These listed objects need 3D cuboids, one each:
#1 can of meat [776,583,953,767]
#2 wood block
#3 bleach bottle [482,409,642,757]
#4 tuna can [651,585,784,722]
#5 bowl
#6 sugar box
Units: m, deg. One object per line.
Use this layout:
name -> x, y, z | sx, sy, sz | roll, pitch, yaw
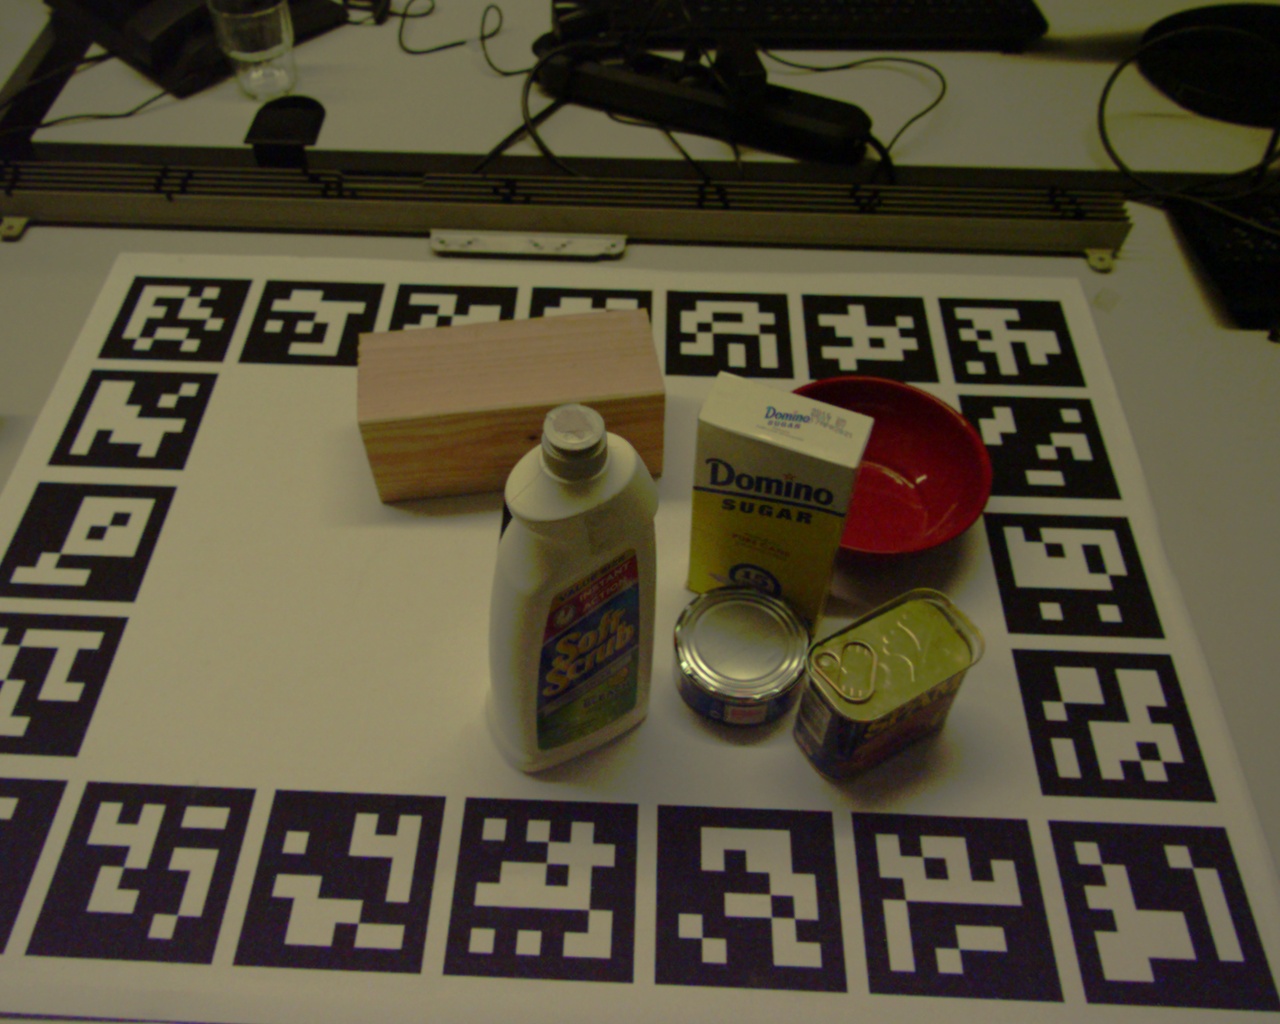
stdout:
can of meat -> 0.135, 0.103, 0.706 | 0.101, 0.083, 0.058 | -22, 51, -19
wood block -> -0.102, -0.074, 0.845 | 0.206, 0.089, 0.091 | -5, 56, -5
bleach bottle -> -0.049, 0.042, 0.645 | 0.102, 0.250, 0.068 | -19, 53, -15
tuna can -> 0.049, 0.092, 0.739 | 0.086, 0.033, 0.086 | -1, 54, 0
bowl -> 0.155, -0.022, 0.820 | 0.162, 0.055, 0.162 | -3, 50, 3
sugar box -> 0.075, 0.000, 0.722 | 0.093, 0.175, 0.045 | 17, 55, 17
